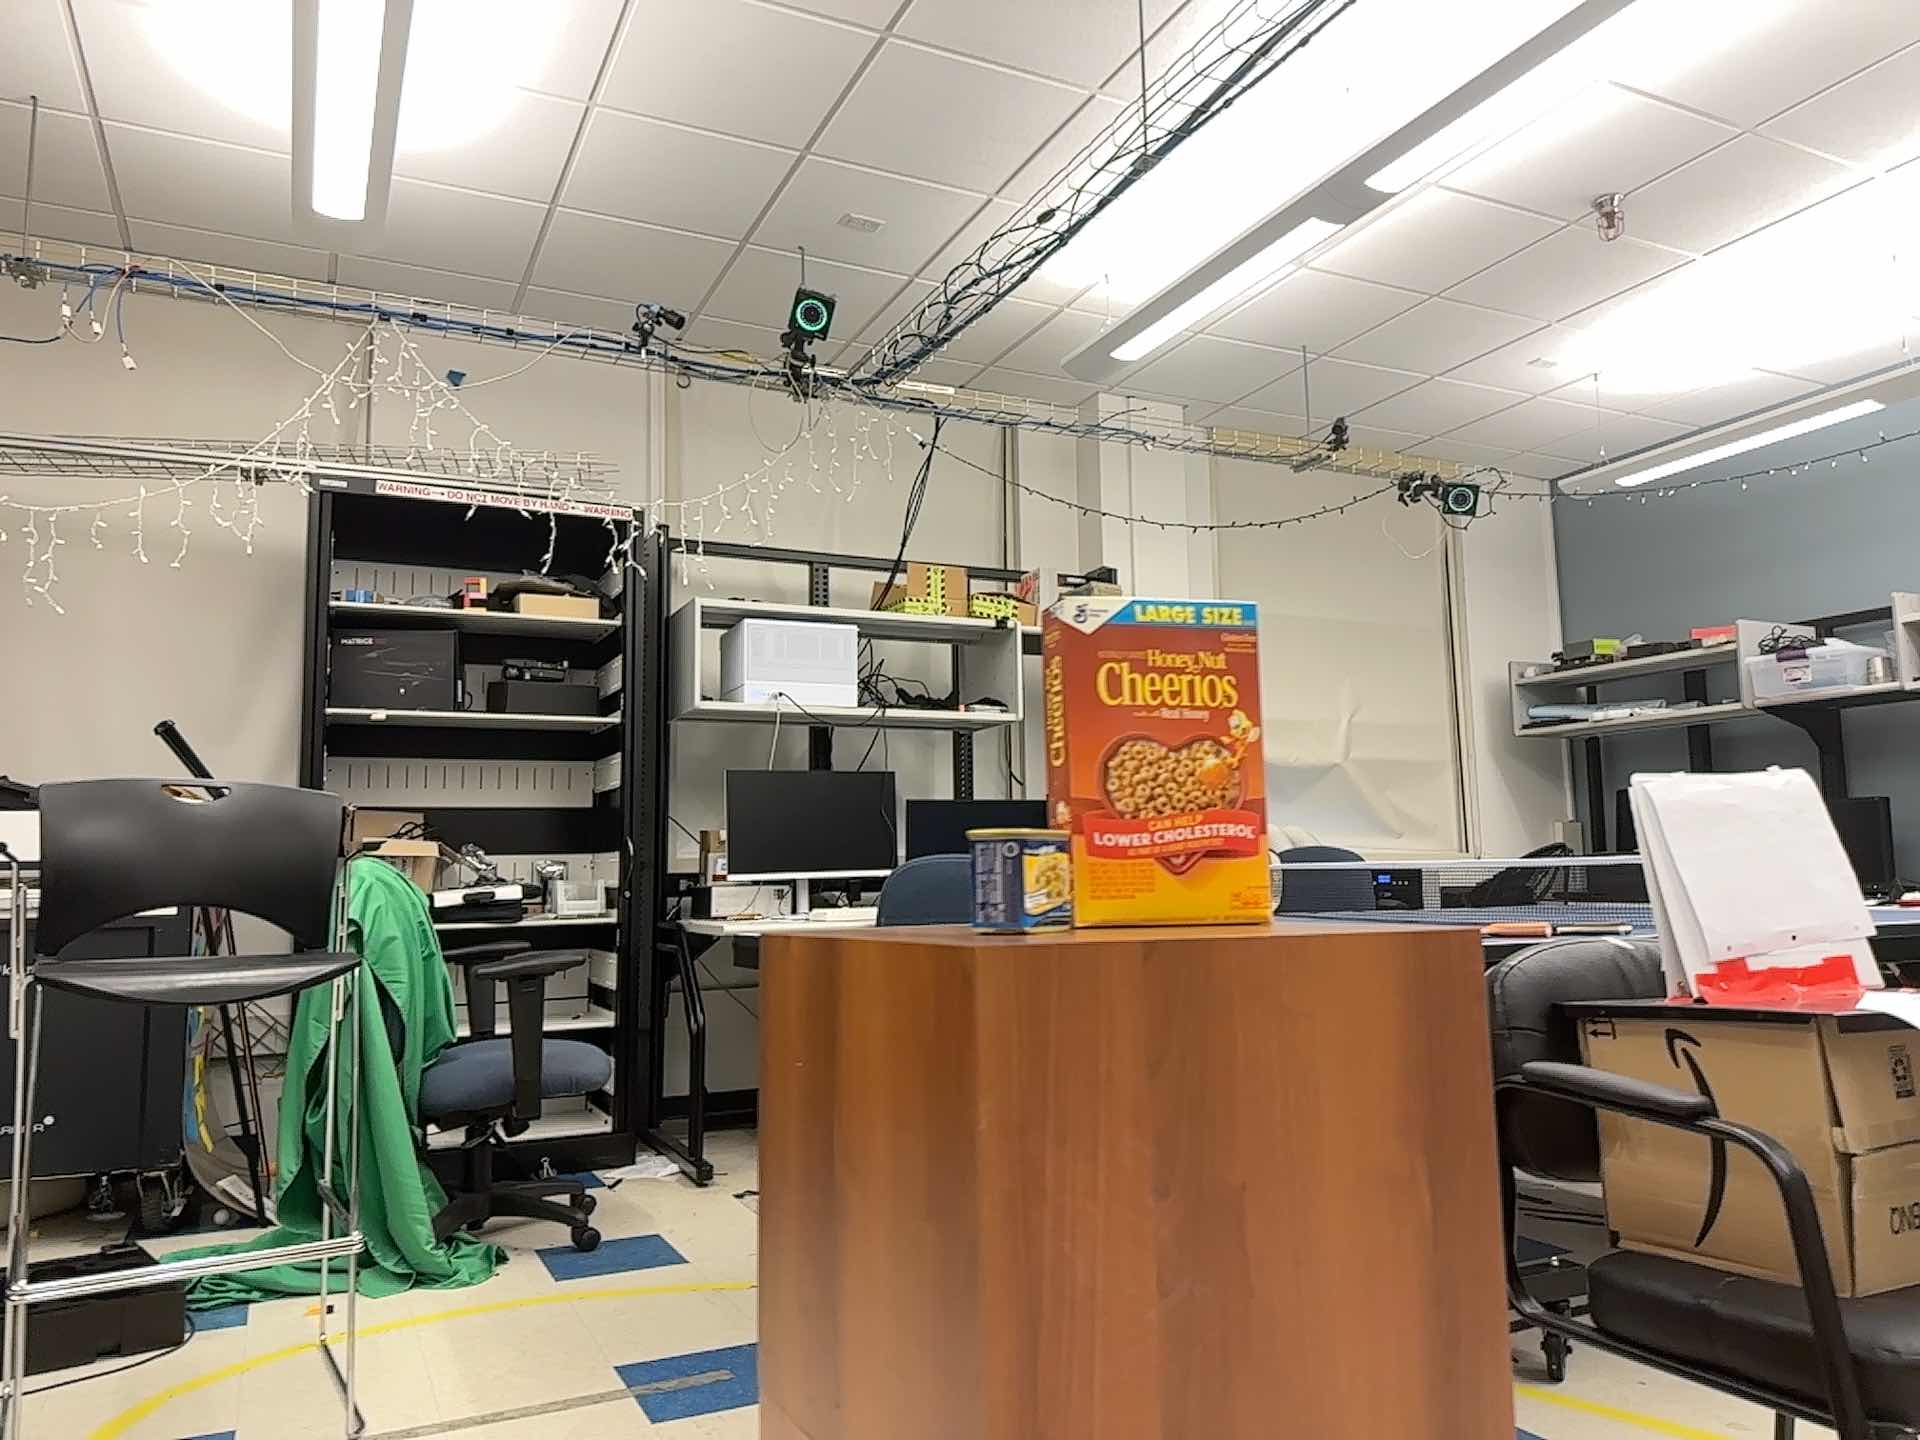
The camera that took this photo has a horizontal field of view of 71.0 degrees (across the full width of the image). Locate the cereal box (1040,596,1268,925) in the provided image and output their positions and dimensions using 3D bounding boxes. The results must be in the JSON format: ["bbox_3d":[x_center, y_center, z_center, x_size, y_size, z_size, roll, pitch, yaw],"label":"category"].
[{"bbox_3d":[0.182,0.039,1.281,0.195,0.297,0.065,3,-9,-17],"label":"cereal box"}]

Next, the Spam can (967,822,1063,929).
[{"bbox_3d":[0.047,0.130,1.124,0.056,0.083,0.100,-5,-9,26],"label":"Spam can"}]
